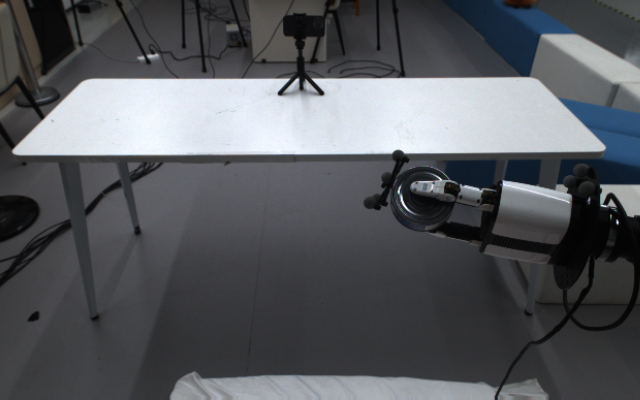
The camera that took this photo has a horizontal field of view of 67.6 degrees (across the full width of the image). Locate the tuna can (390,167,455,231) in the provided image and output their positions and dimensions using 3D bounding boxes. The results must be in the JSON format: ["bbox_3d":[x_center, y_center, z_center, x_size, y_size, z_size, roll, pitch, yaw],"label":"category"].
[{"bbox_3d":[0.141,-0.004,0.655,0.085,0.034,0.085,-2,71,5],"label":"tuna can"}]
